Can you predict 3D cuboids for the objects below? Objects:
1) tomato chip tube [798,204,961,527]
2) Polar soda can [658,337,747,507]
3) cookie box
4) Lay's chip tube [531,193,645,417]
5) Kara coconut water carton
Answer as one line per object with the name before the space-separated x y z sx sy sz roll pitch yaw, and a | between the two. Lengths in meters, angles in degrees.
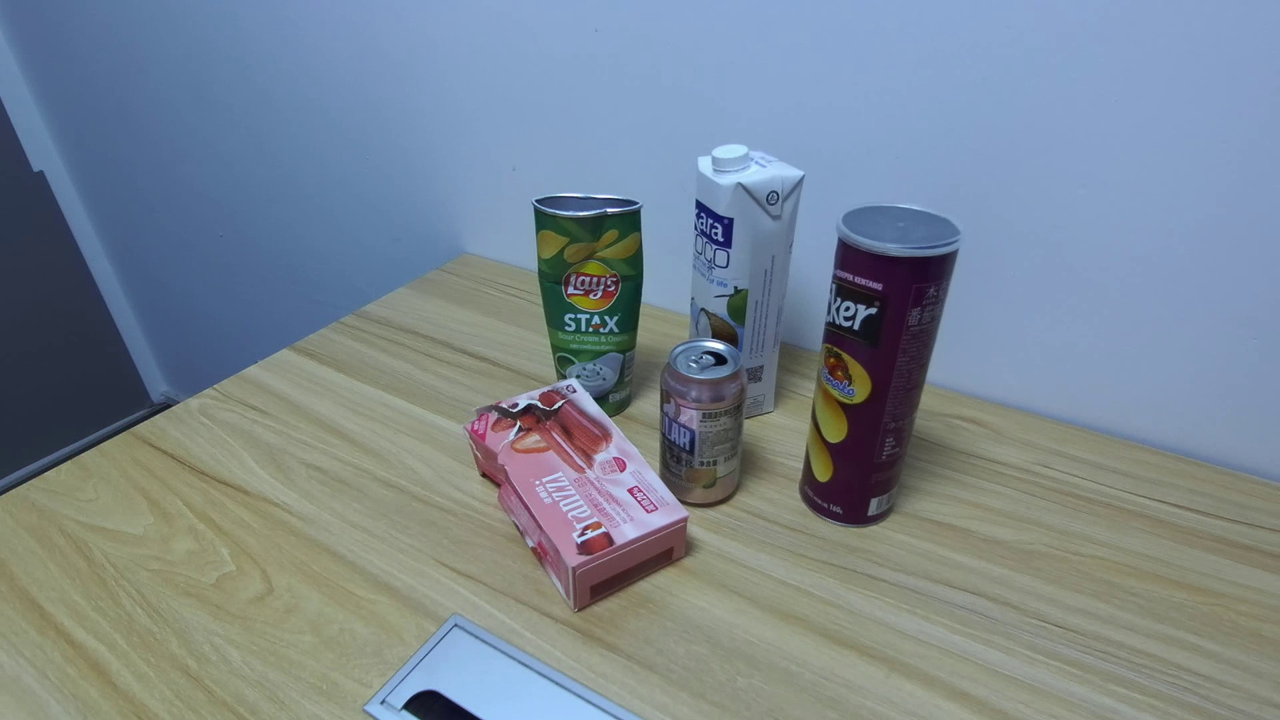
tomato chip tube | 0.168 0.012 0.512 0.078 0.234 0.078 -1 33 1
Polar soda can | 0.050 0.050 0.559 0.067 0.126 0.067 -1 33 1
cookie box | -0.052 0.094 0.550 0.105 0.059 0.185 -22 40 -26
Lay's chip tube | -0.042 -0.047 0.632 0.075 0.200 0.068 -19 37 -25
Kara coconut water carton | 0.086 -0.064 0.617 0.075 0.245 0.076 -12 35 -19
